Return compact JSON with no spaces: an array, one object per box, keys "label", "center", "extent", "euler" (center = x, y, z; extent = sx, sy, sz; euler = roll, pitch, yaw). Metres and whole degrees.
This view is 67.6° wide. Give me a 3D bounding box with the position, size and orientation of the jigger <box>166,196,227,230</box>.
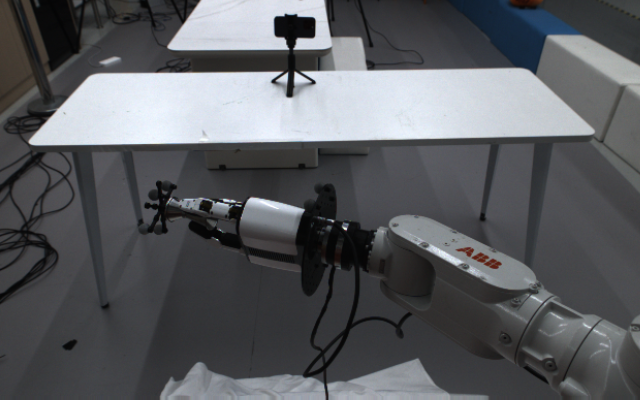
[{"label":"jigger","center":[-0.186,0.016,0.724],"extent":[0.071,0.043,0.043],"euler":[8,35,12]}]
